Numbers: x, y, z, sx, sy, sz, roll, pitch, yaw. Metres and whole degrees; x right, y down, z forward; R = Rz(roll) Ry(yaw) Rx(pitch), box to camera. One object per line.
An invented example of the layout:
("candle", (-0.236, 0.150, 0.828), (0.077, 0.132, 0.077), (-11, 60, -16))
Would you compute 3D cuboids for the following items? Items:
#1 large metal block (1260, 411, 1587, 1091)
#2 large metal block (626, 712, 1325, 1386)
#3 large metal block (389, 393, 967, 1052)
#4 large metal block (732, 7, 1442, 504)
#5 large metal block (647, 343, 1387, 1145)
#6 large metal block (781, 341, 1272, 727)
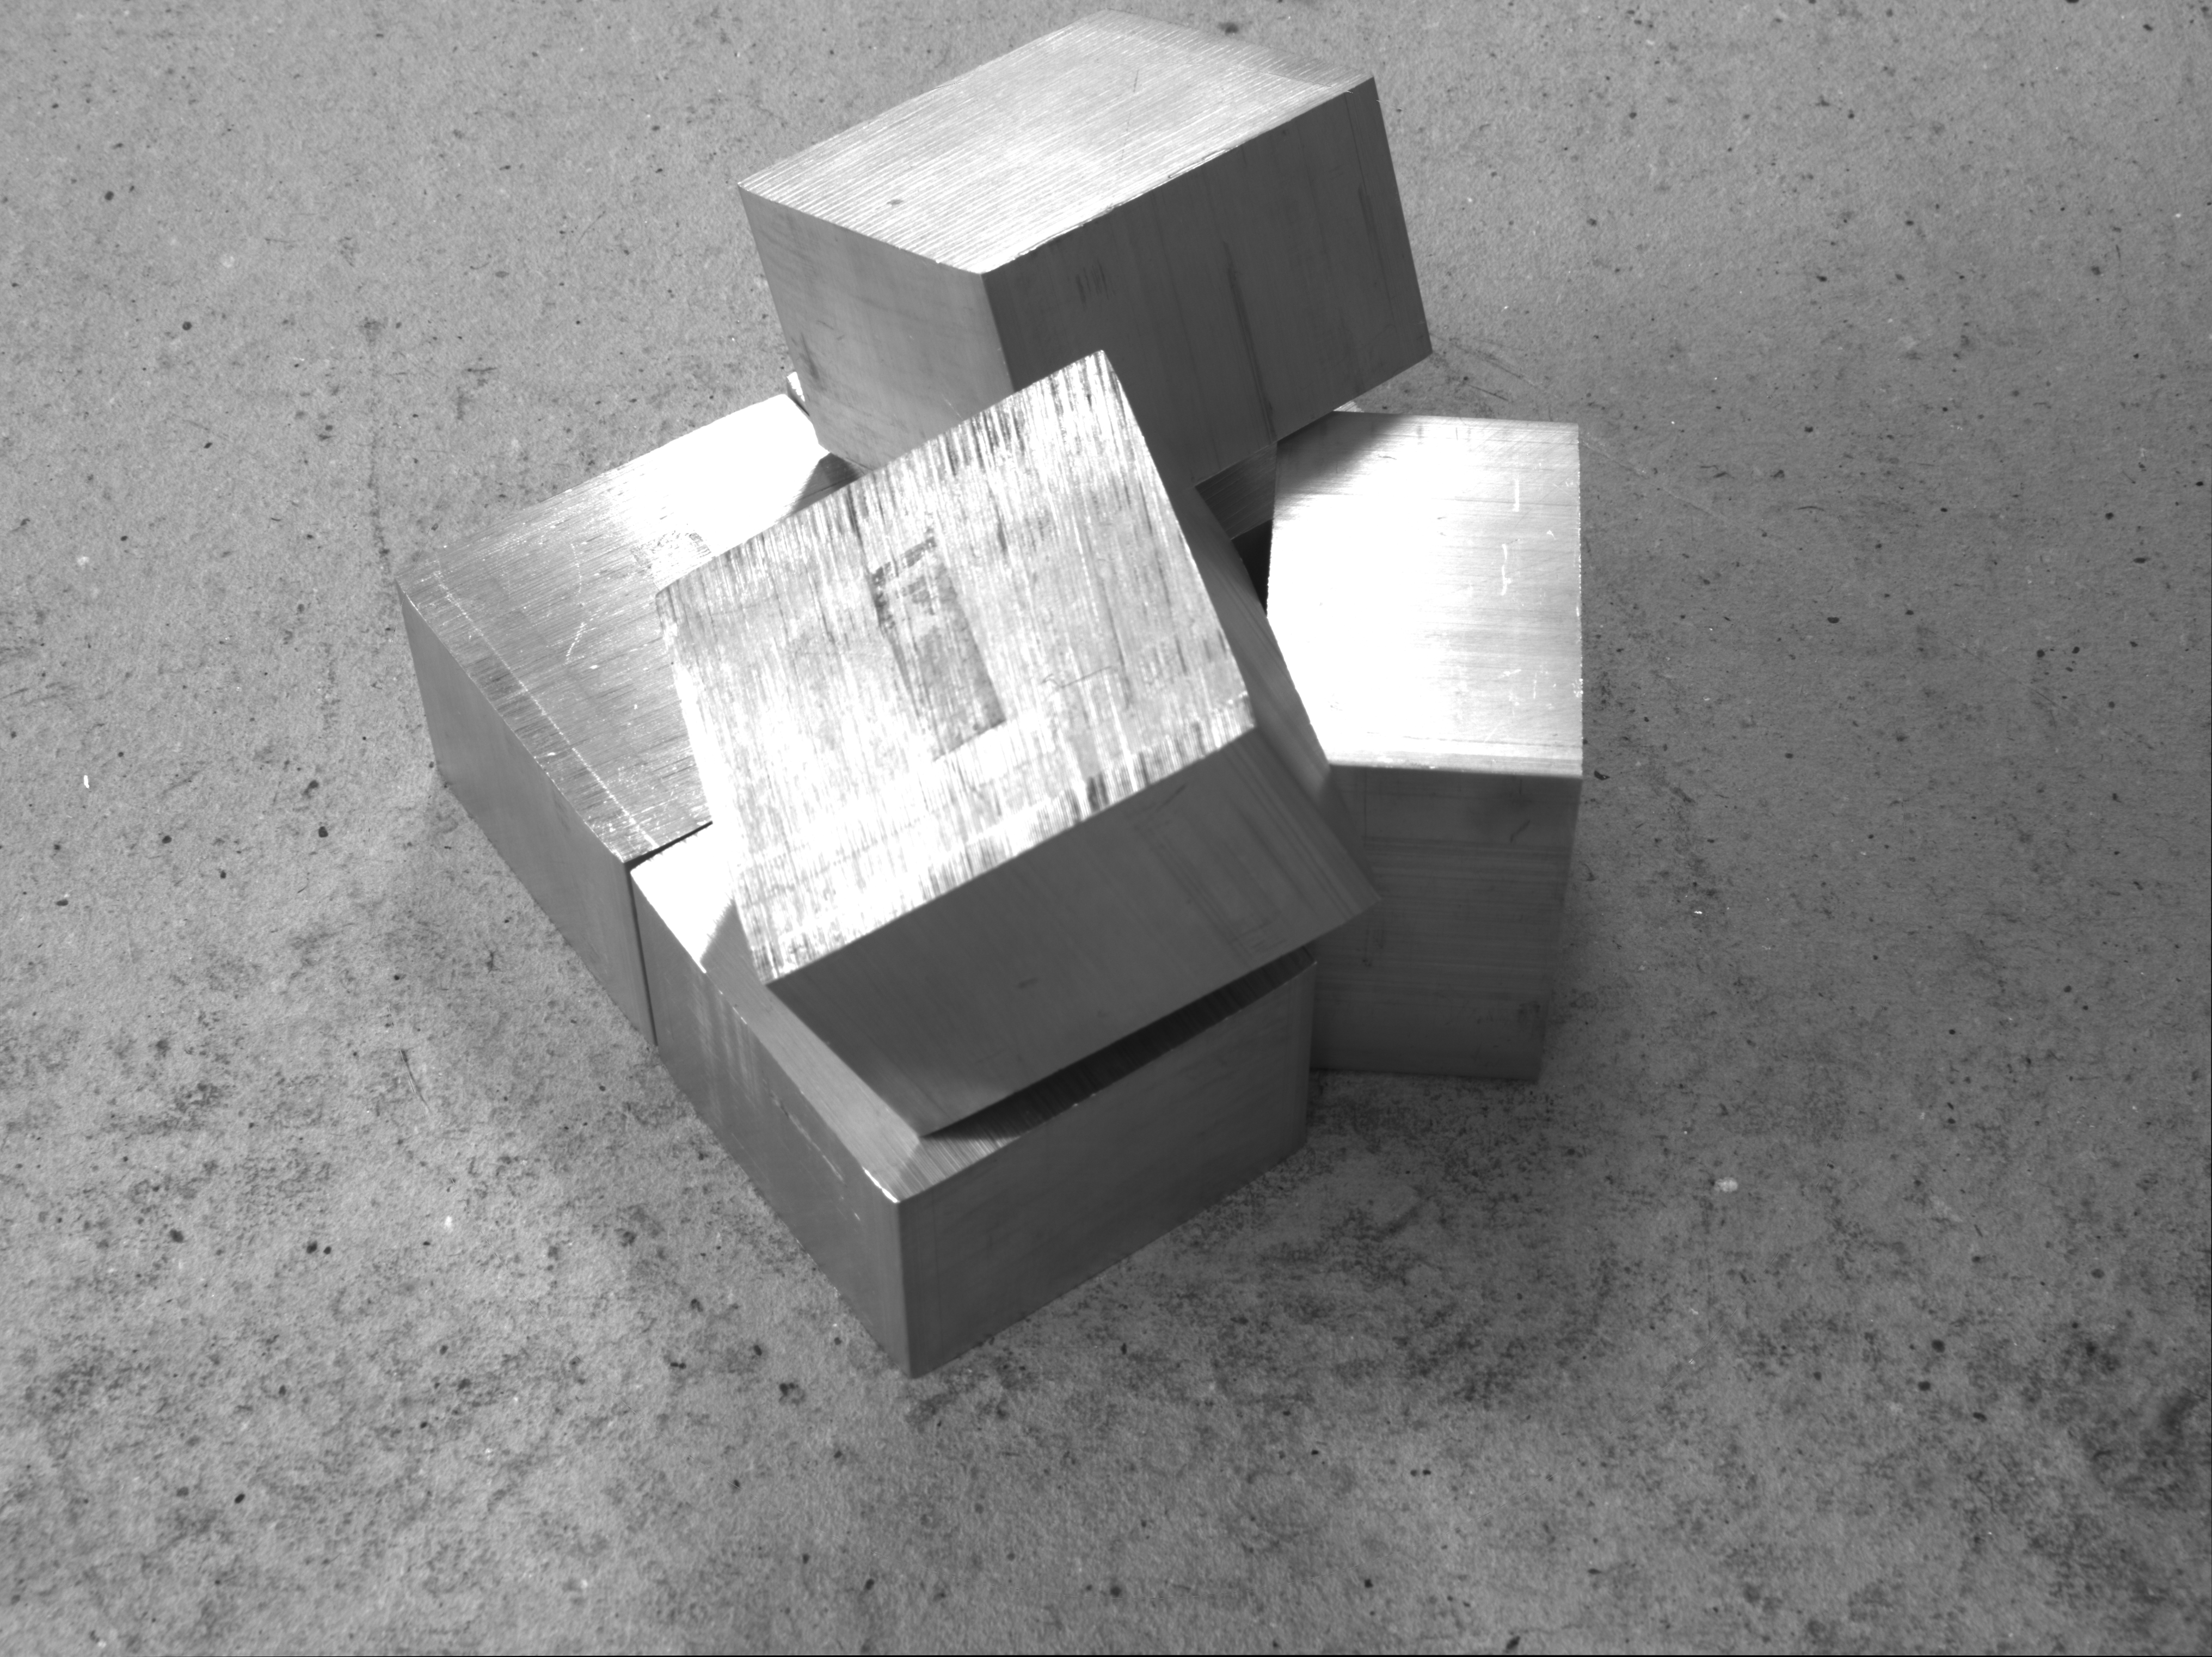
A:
("large metal block", (0.052, -0.013, 0.618), (0.050, 0.080, 0.080), (3, 50, 3))
("large metal block", (-0.021, 0.030, 0.602), (0.080, 0.050, 0.080), (-28, 55, -22))
("large metal block", (-0.067, -0.020, 0.643), (0.080, 0.050, 0.080), (-28, 56, -22))
("large metal block", (-0.003, -0.095, 0.620), (0.080, 0.050, 0.080), (-30, 33, -23))
("large metal block", (-0.015, -0.013, 0.552), (0.080, 0.050, 0.080), (-28, 52, 9))
("large metal block", (-0.003, -0.058, 0.673), (0.080, 0.050, 0.080), (-28, 55, -23))
